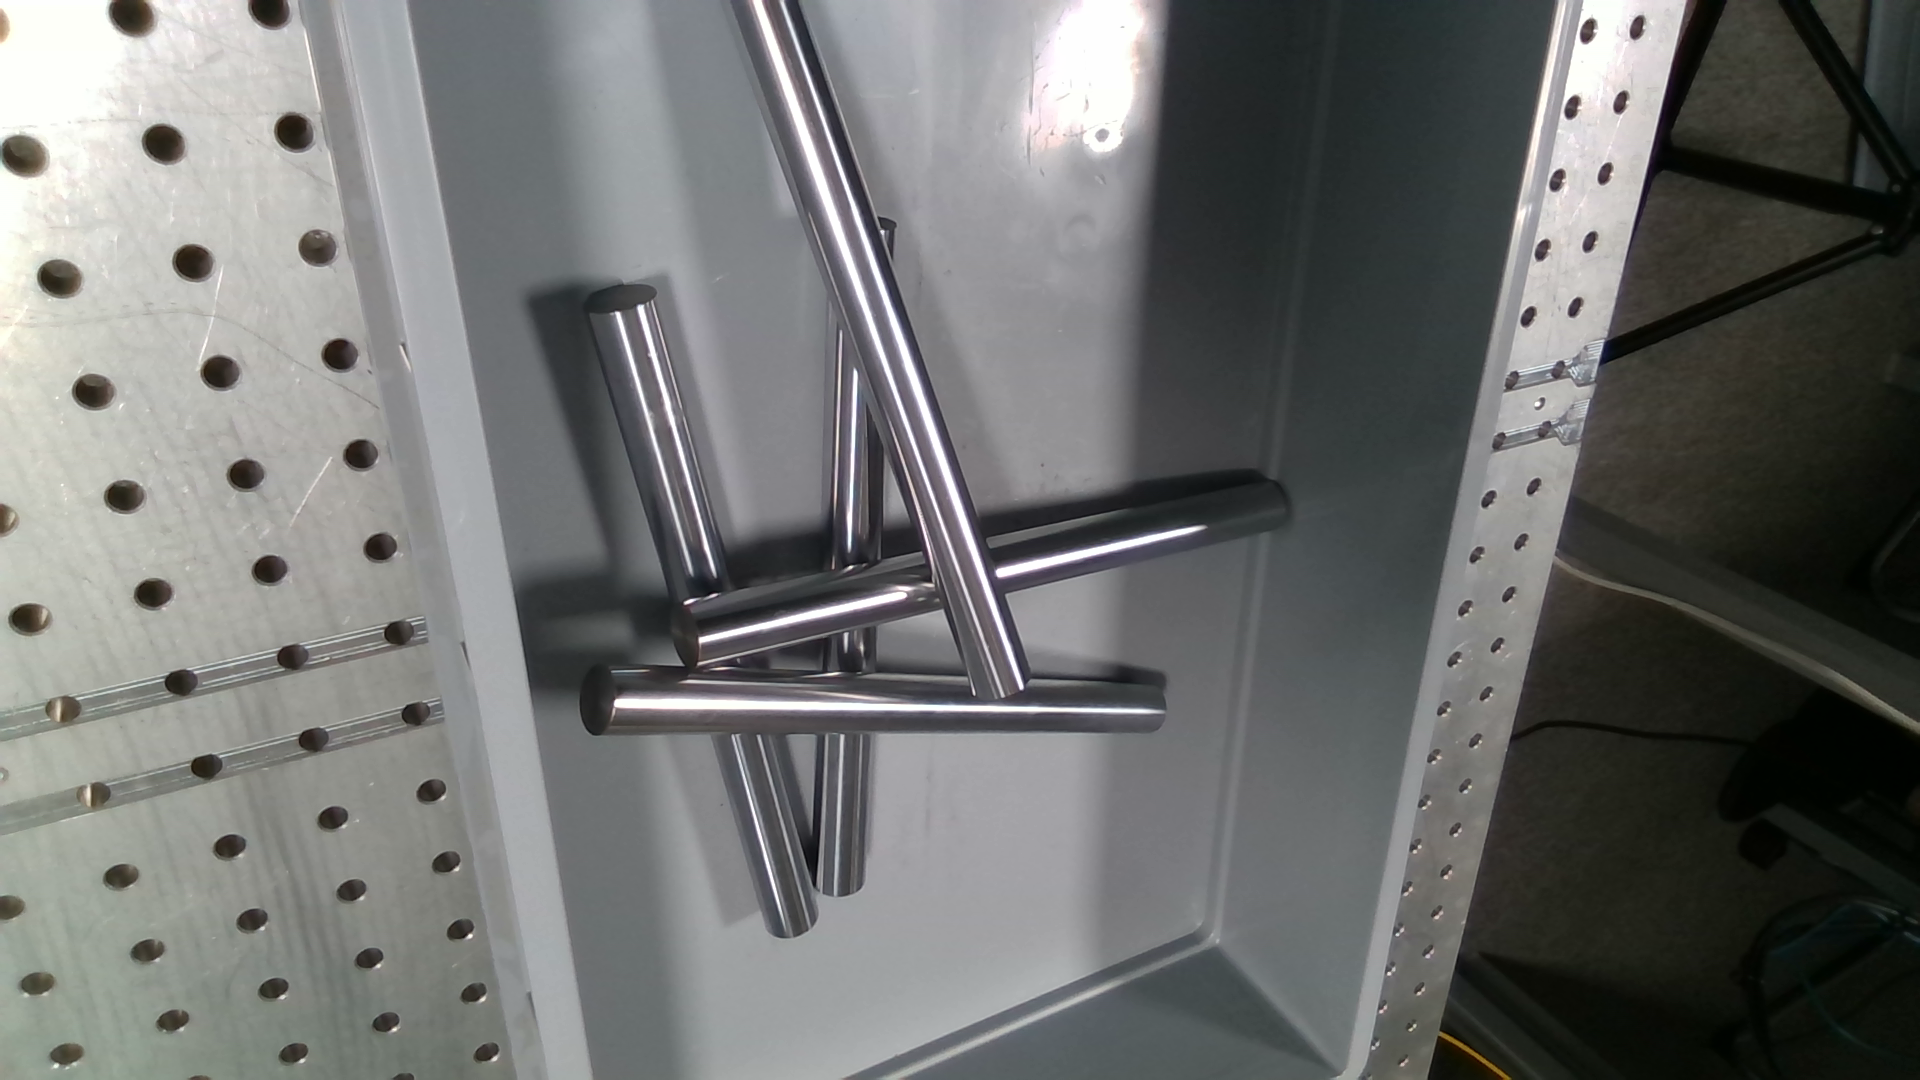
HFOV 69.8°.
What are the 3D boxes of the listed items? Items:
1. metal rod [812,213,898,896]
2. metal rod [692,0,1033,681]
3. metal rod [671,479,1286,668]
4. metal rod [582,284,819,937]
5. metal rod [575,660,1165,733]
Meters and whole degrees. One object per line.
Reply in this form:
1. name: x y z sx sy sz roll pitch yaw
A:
1. metal rod: -0.046 0.020 0.562 0.025 0.025 0.301 -10 120 -27
2. metal rod: -0.031 -0.071 0.490 0.025 0.025 0.301 -31 122 -14
3. metal rod: 0.024 0.009 0.577 0.300 0.025 0.025 -12 120 -33
4. metal rod: -0.096 0.044 0.545 0.025 0.025 0.301 -22 125 -20
5. metal rod: -0.018 0.069 0.580 0.300 0.025 0.025 8 111 -43
